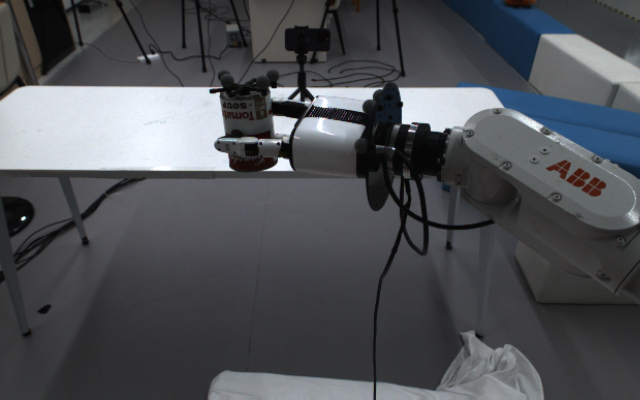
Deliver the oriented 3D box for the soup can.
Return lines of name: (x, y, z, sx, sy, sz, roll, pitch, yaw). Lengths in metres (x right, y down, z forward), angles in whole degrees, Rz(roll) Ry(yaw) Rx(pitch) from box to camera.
soup can: (-0.095, -0.096, 0.655, 0.067, 0.101, 0.067, -3, 26, 2)
